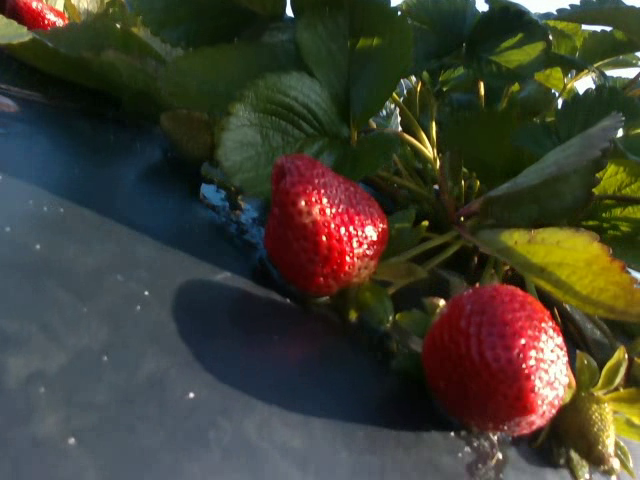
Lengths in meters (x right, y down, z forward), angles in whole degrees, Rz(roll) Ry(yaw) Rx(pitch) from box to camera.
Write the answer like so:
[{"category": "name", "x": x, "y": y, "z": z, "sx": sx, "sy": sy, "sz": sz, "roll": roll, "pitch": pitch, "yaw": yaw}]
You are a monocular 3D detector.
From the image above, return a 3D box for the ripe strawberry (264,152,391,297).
[{"category": "ripe strawberry", "x": 0.001, "y": -0.005, "z": 0.199, "sx": 0.039, "sy": 0.048, "sz": 0.054, "roll": -20, "pitch": -52, "yaw": 29}]

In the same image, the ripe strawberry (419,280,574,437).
[{"category": "ripe strawberry", "x": 0.047, "y": 0.028, "z": 0.158, "sx": 0.038, "sy": 0.043, "sz": 0.053, "roll": -42, "pitch": -3, "yaw": 2}]
